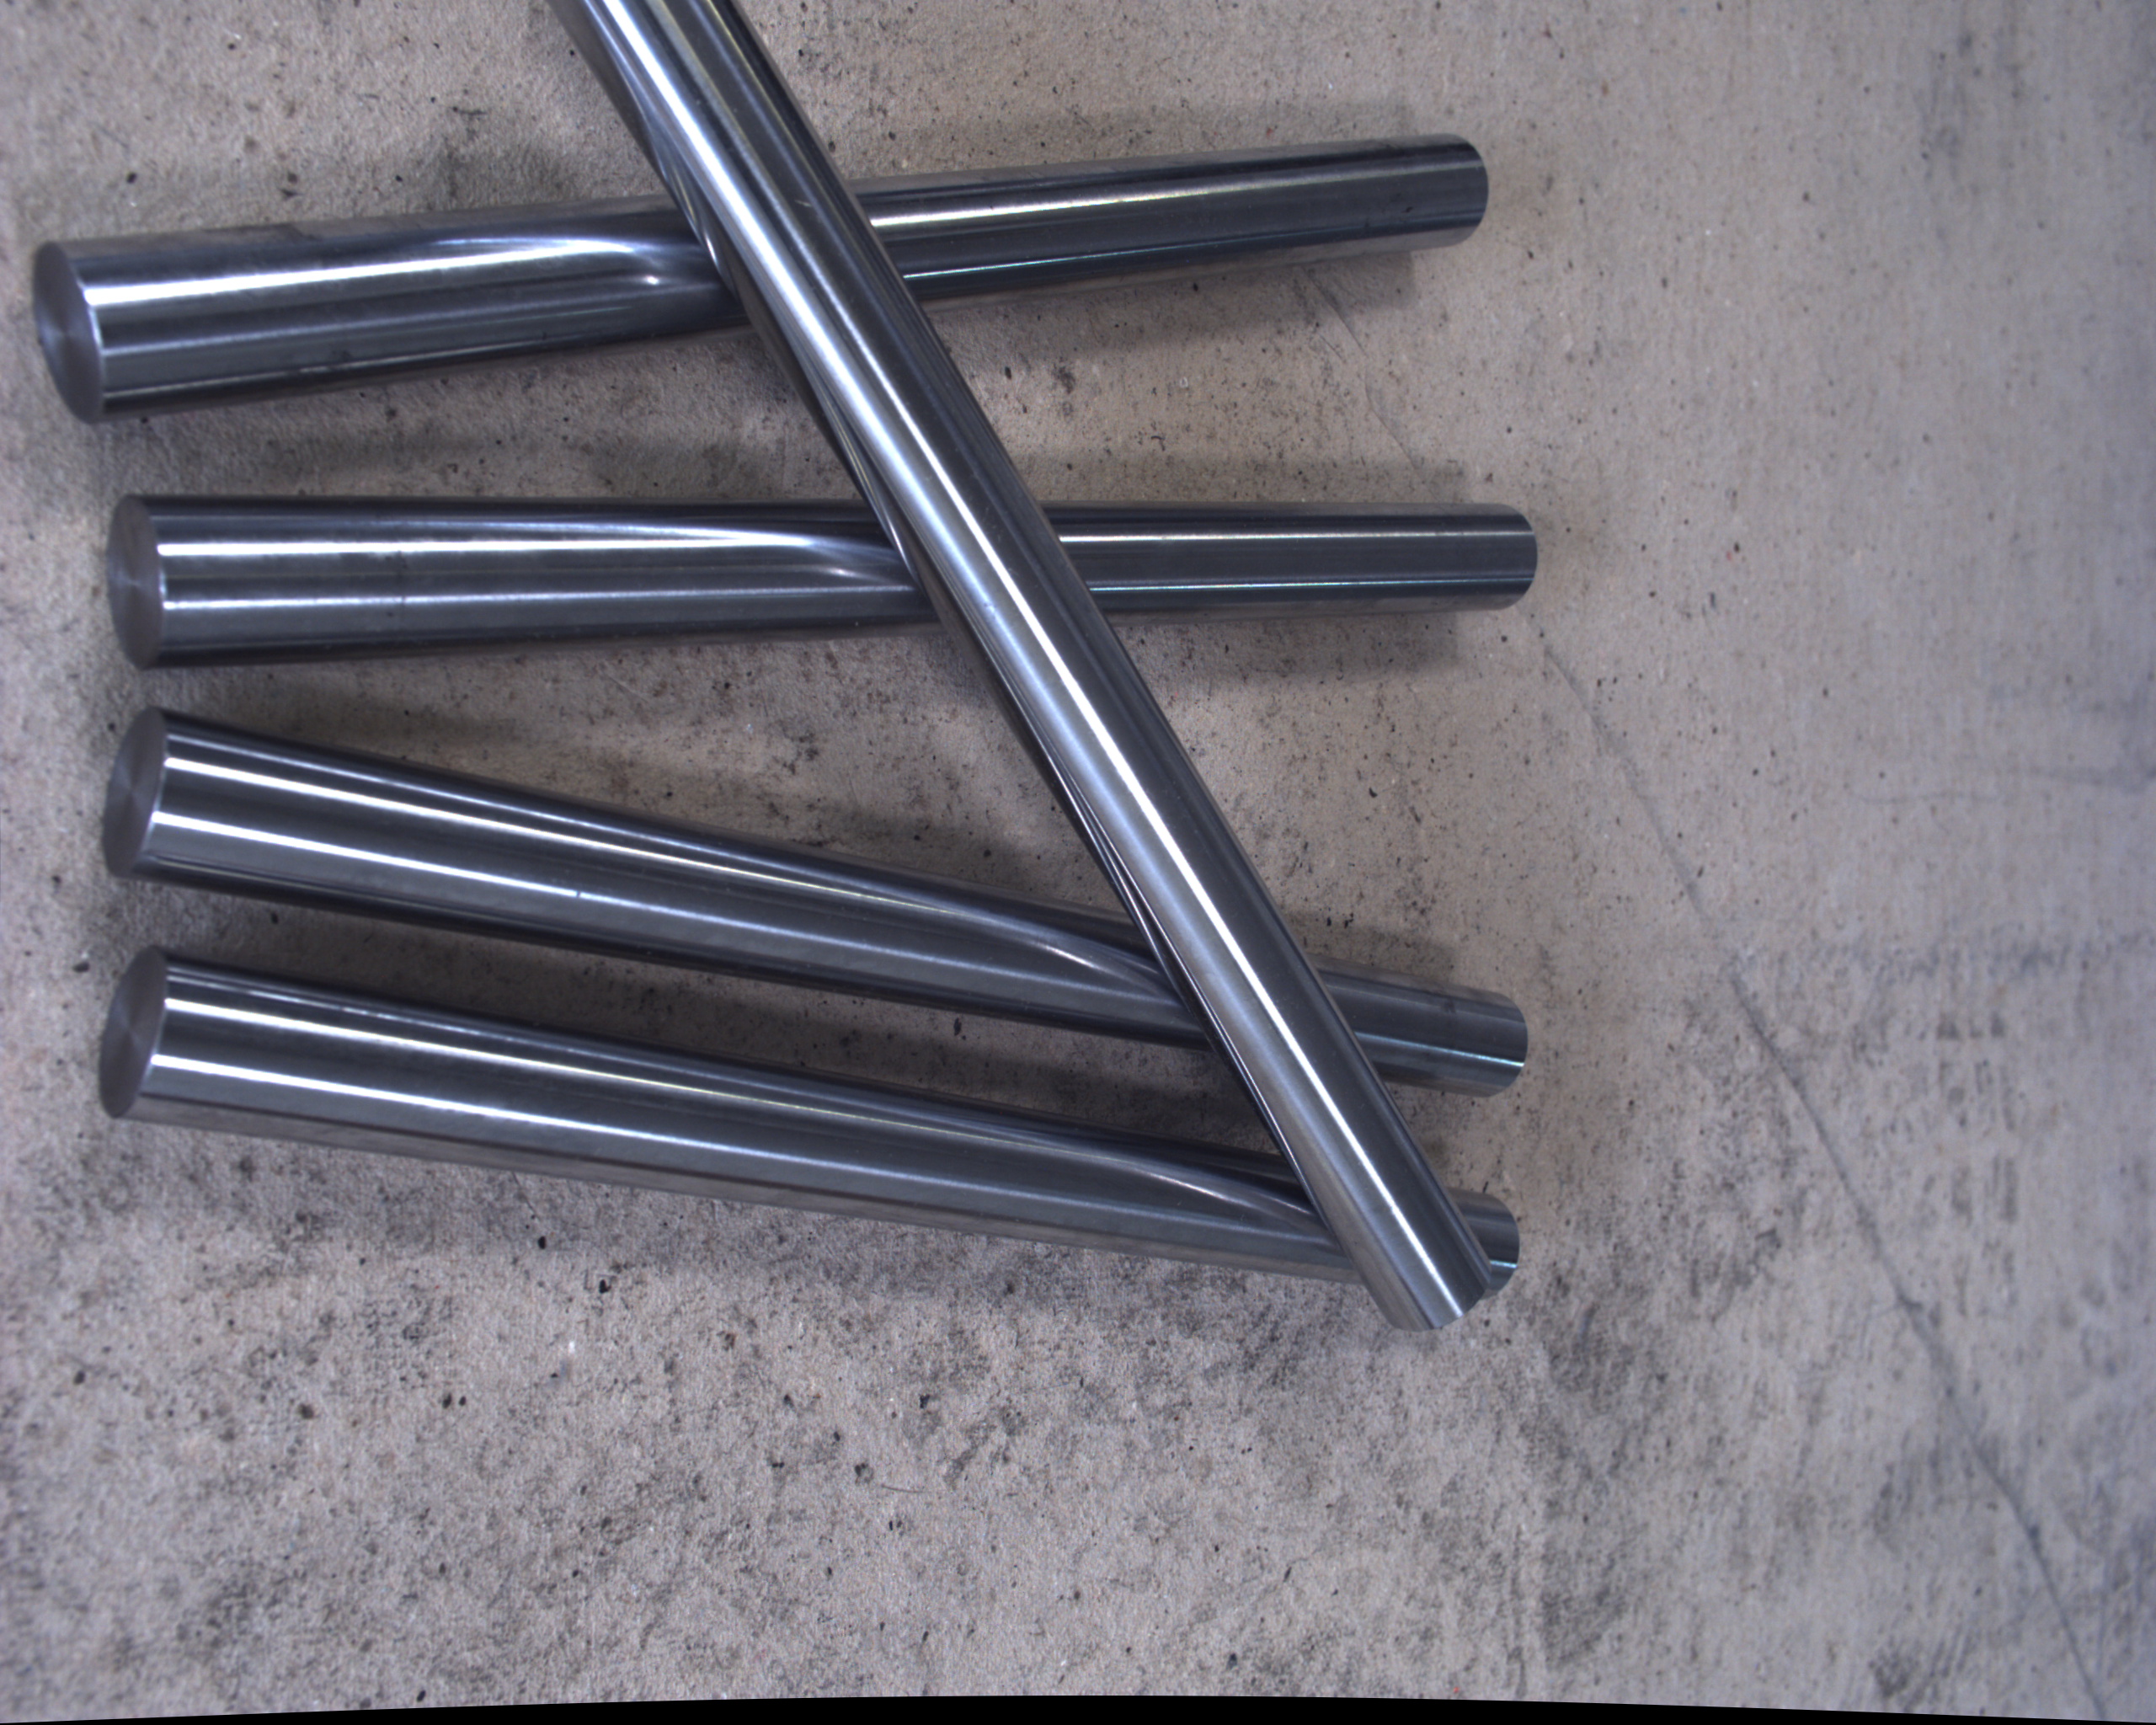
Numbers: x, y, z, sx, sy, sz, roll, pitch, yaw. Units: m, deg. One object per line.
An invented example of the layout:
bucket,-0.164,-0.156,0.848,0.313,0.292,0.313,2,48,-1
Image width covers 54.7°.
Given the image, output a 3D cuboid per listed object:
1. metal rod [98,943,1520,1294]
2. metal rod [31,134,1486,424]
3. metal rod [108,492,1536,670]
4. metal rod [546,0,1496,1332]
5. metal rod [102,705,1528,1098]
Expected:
metal rod,-0.021,0.056,0.389,0.302,0.025,0.025,16,80,-39
metal rod,-0.029,-0.113,0.383,0.302,0.025,0.025,-20,103,-38
metal rod,-0.018,-0.056,0.391,0.302,0.025,0.025,-8,95,-40
metal rod,0.002,-0.026,0.374,0.025,0.025,0.299,-48,118,-29
metal rod,-0.019,0.016,0.390,0.302,0.025,0.025,13,82,-39
